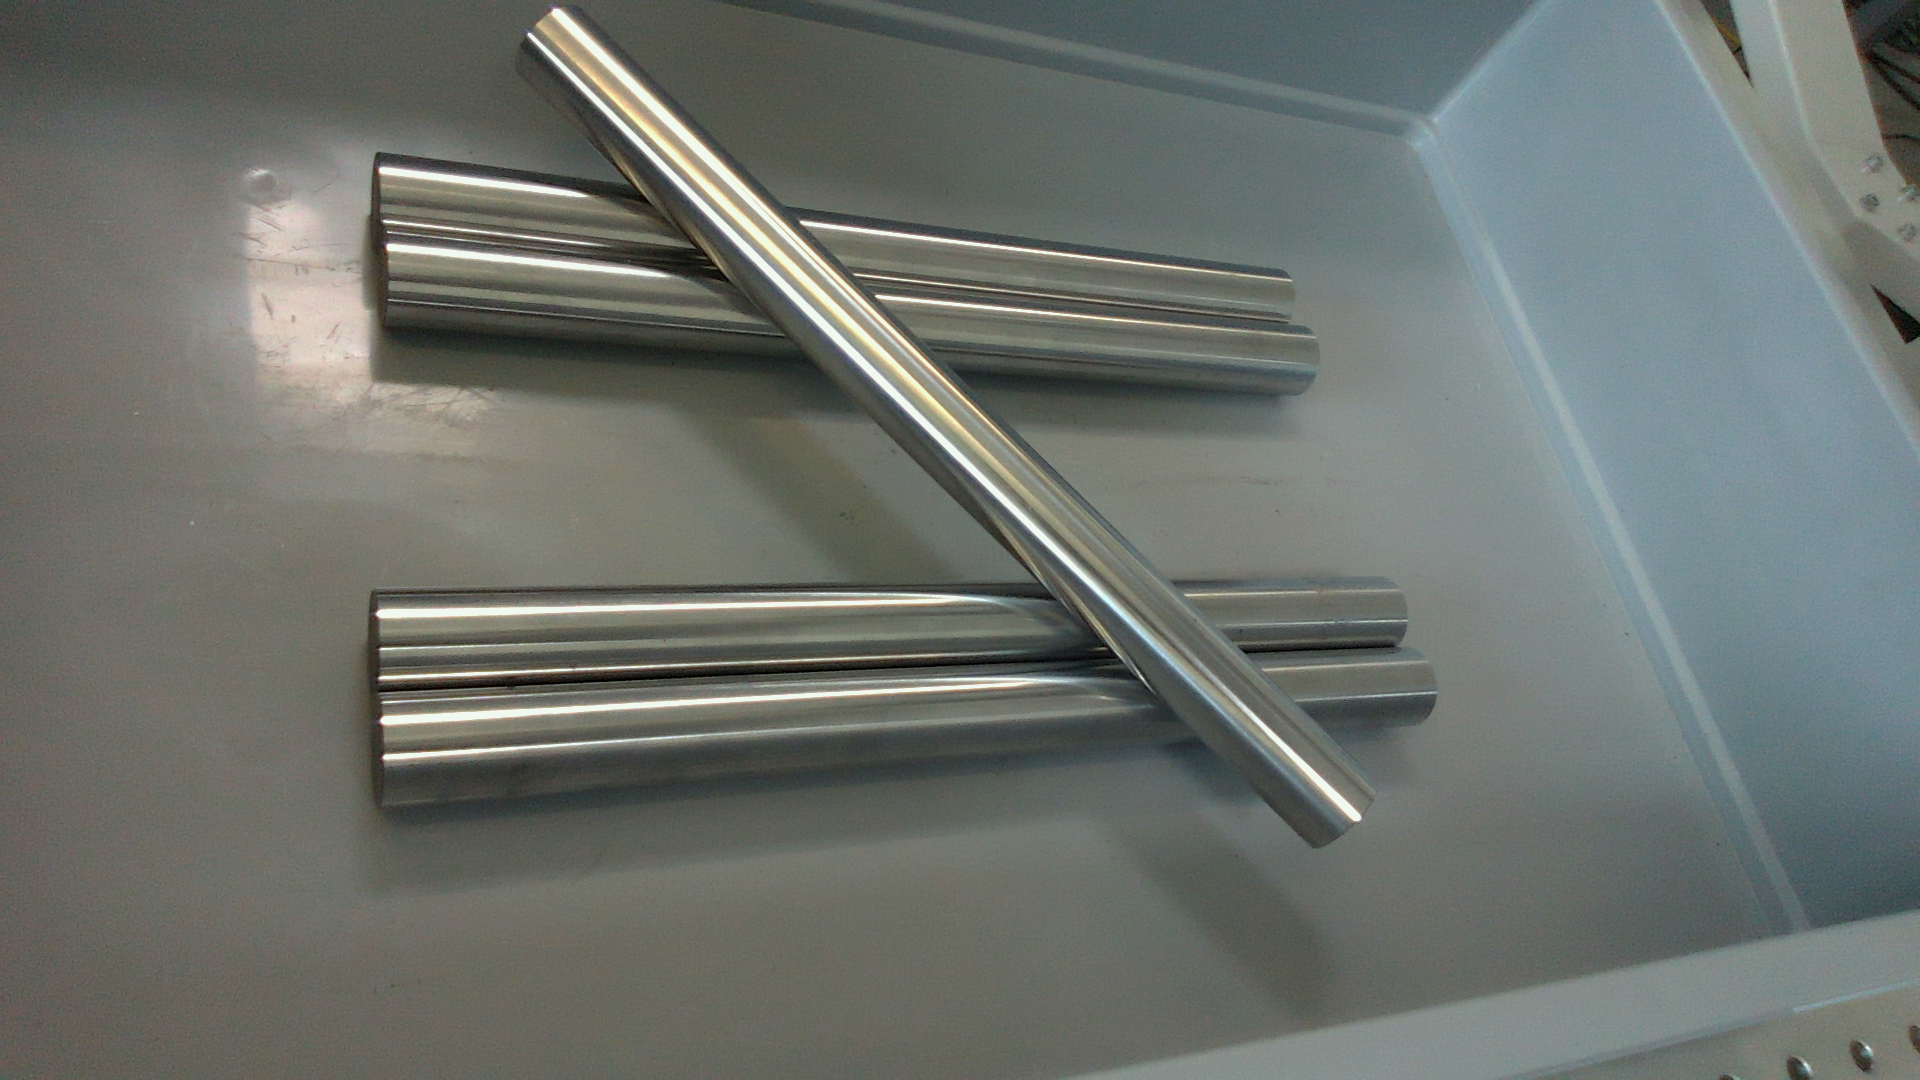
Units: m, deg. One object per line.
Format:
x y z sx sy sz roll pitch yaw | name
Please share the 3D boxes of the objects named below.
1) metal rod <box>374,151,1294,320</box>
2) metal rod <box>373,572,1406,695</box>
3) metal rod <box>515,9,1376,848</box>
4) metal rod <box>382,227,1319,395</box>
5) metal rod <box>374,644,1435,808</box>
-0.020 -0.088 0.431 0.301 0.025 0.025 1 61 -28 | metal rod
0.003 0.022 0.376 0.301 0.025 0.025 0 62 -28 | metal rod
-0.006 -0.032 0.373 0.300 0.025 0.025 44 51 2 | metal rod
-0.013 -0.066 0.421 0.301 0.025 0.025 1 61 -28 | metal rod
0.008 0.045 0.365 0.301 0.025 0.025 0 62 -28 | metal rod
